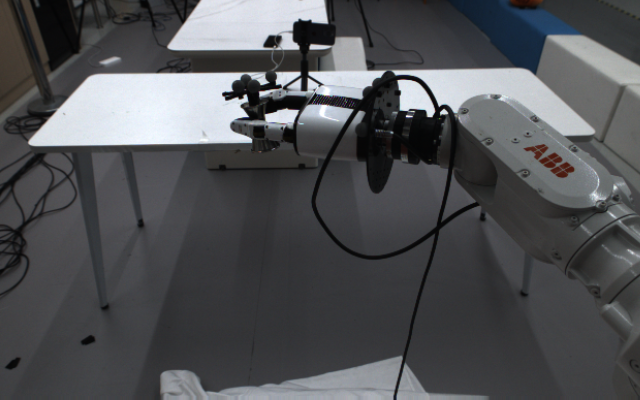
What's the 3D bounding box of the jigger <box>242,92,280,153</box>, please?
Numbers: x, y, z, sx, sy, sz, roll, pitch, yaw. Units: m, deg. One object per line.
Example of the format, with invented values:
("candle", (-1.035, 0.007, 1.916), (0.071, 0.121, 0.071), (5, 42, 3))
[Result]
("jigger", (-0.084, -0.107, 0.696), (0.043, 0.071, 0.043), (-10, 24, 5))
